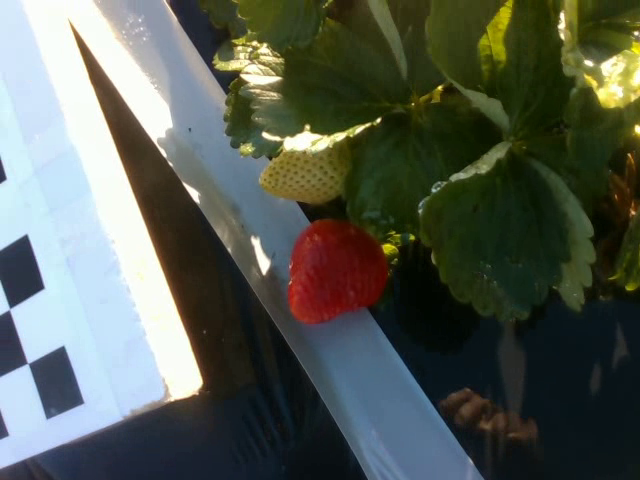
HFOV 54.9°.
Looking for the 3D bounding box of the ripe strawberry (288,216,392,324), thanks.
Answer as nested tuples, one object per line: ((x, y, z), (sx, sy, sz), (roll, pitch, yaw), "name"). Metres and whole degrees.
((0.004, 0.014, 0.253), (0.045, 0.049, 0.064), (0, 30, 29), "ripe strawberry")
